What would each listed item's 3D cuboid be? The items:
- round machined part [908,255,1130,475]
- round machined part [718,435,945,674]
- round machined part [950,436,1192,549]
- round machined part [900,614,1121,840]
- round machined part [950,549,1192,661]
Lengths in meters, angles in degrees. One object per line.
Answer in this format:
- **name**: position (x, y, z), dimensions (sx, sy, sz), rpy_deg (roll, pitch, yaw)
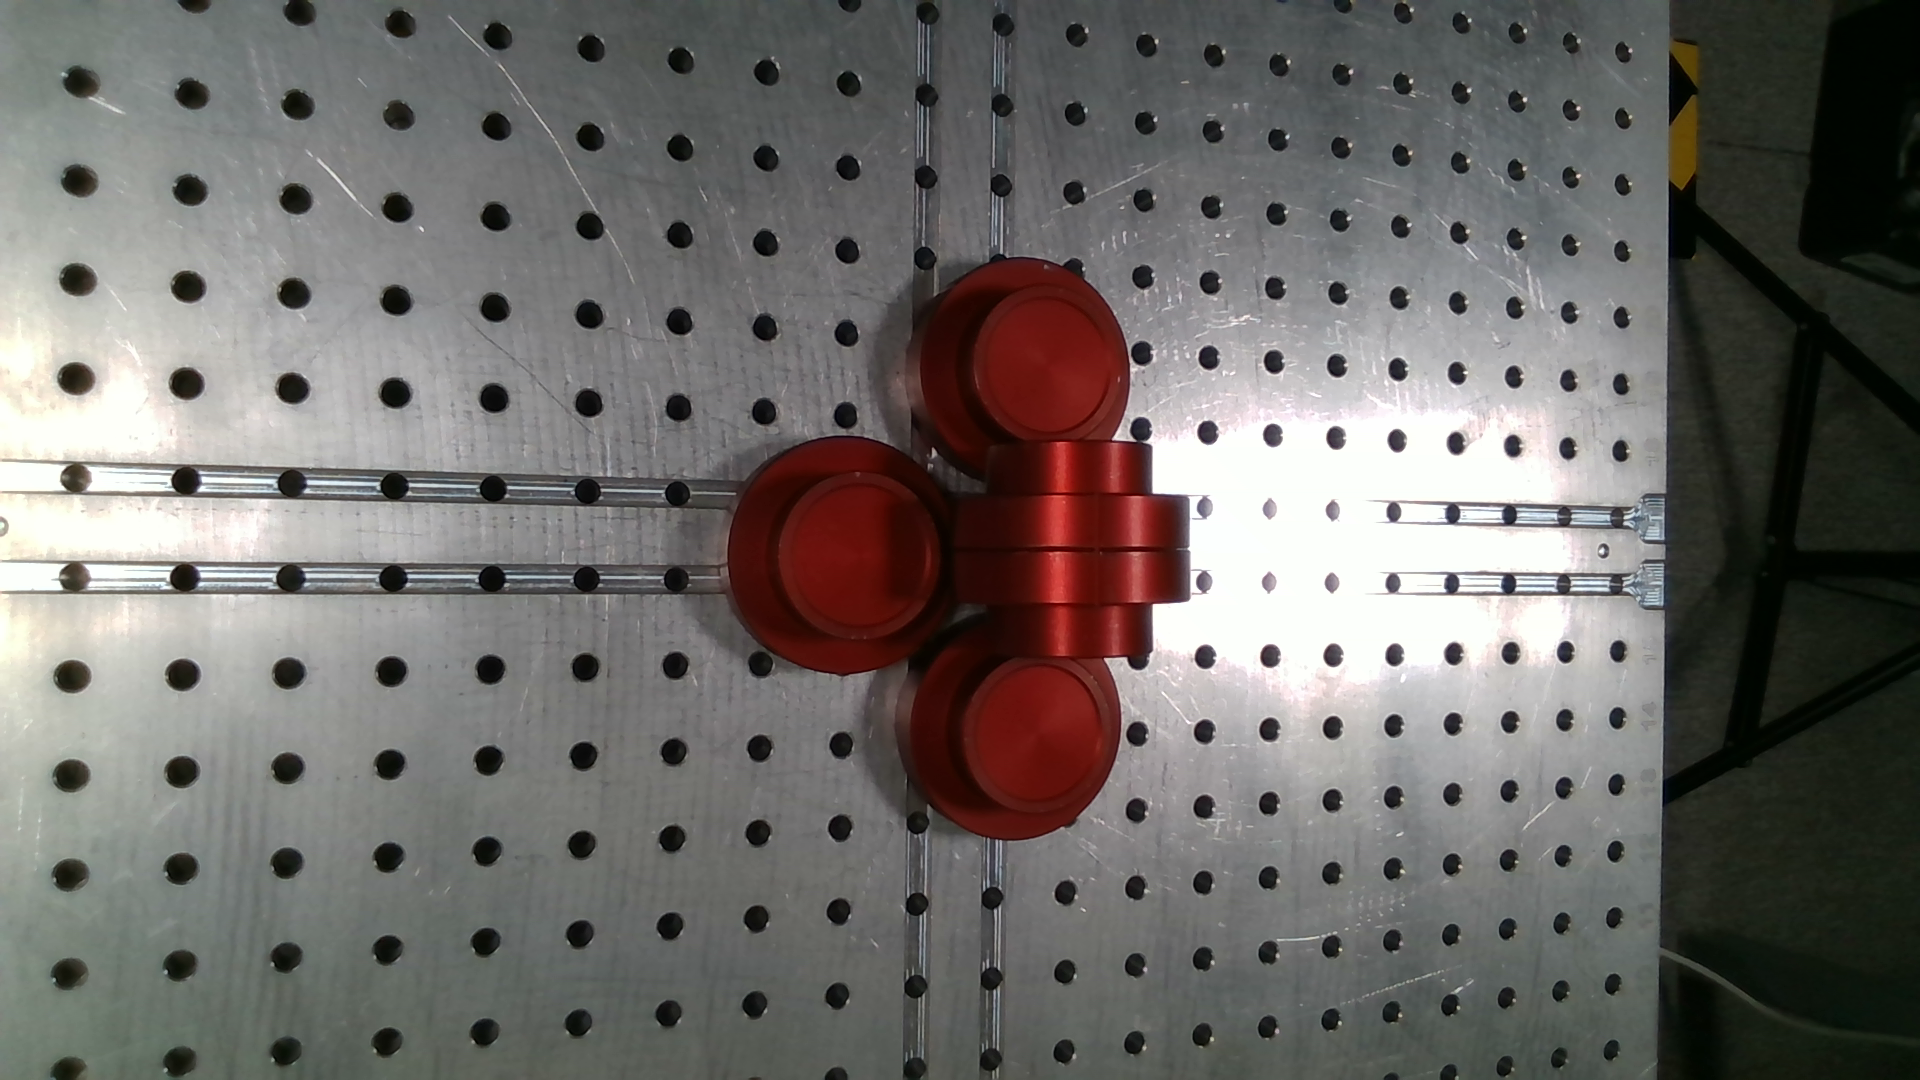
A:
- **round machined part**: position (0.030, -0.073, 0.590), dimensions (0.098, 0.042, 0.098), rpy_deg (0, 90, -20)
- **round machined part**: position (-0.046, 0.006, 0.562), dimensions (0.098, 0.042, 0.098), rpy_deg (0, 90, -20)
- **round machined part**: position (0.045, -0.018, 0.559), dimensions (0.098, 0.098, 0.042), rpy_deg (1, 89, -20)
- **round machined part**: position (0.025, 0.080, 0.588), dimensions (0.098, 0.042, 0.098), rpy_deg (0, 90, -20)
- **round machined part**: position (0.045, 0.025, 0.560), dimensions (0.098, 0.098, 0.042), rpy_deg (-1, 90, -20)
